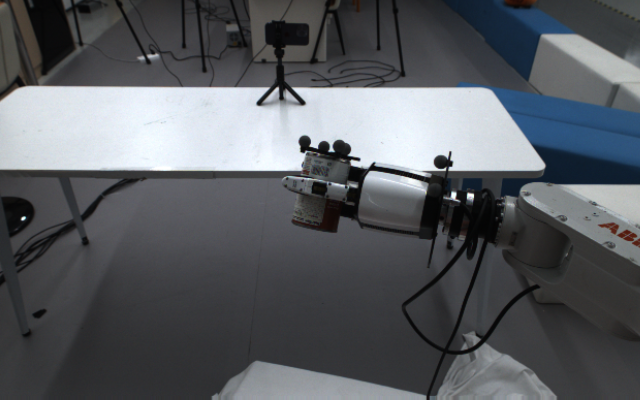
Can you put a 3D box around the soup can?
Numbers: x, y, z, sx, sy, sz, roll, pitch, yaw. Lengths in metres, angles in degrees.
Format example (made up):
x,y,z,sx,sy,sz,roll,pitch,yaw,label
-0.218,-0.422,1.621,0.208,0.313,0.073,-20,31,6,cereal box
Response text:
x,y,z,sx,sy,sz,roll,pitch,yaw,label
0.003,-0.010,0.682,0.067,0.101,0.067,12,2,0,soup can
